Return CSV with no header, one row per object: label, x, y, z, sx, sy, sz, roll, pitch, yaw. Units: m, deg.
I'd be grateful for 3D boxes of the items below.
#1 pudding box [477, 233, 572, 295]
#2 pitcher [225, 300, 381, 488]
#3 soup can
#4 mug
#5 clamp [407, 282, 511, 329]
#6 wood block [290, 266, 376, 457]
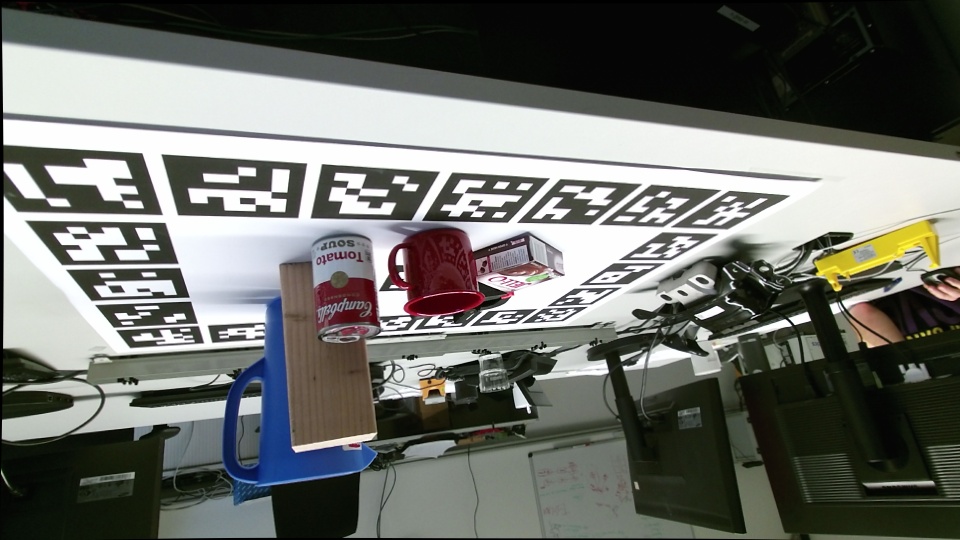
pudding box,0.060,-0.005,0.712,0.090,0.038,0.114,-24,157,24
pitcher,-0.242,0.167,0.721,0.189,0.241,0.133,-5,161,-24
soup can,-0.139,0.023,0.581,0.068,0.101,0.068,-11,158,-4
mug,-0.048,0.002,0.606,0.093,0.081,0.117,-19,160,27
clamp,-0.019,0.053,0.842,0.165,0.036,0.122,-25,148,33
wood block,-0.178,0.106,0.633,0.090,0.205,0.091,0,158,-19
